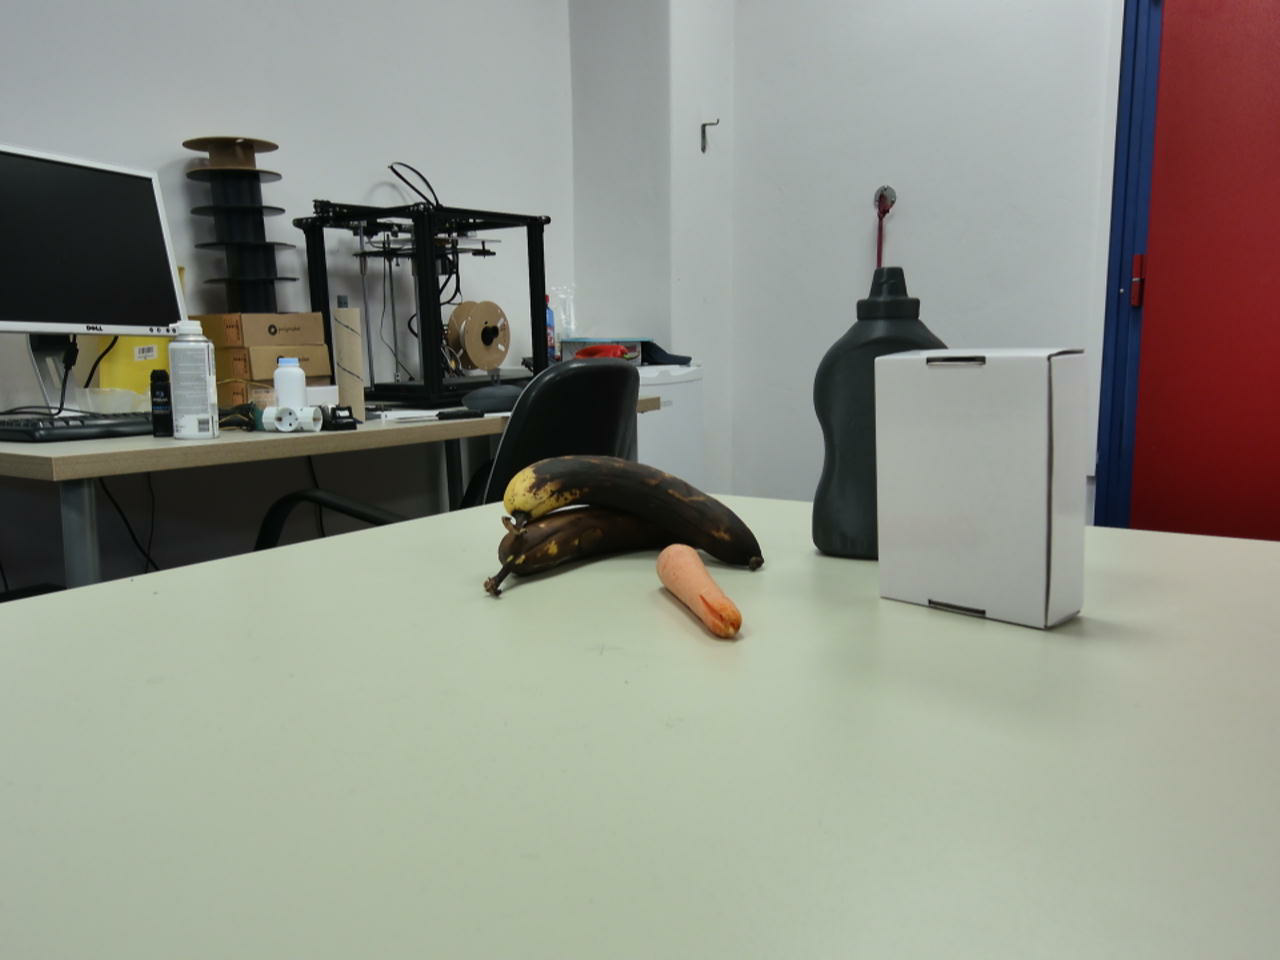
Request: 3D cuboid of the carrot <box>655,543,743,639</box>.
[{"bbox_3d":[0.033,0.061,0.583,0.030,0.032,0.136,-1,6,-10],"label":"carrot"}]
